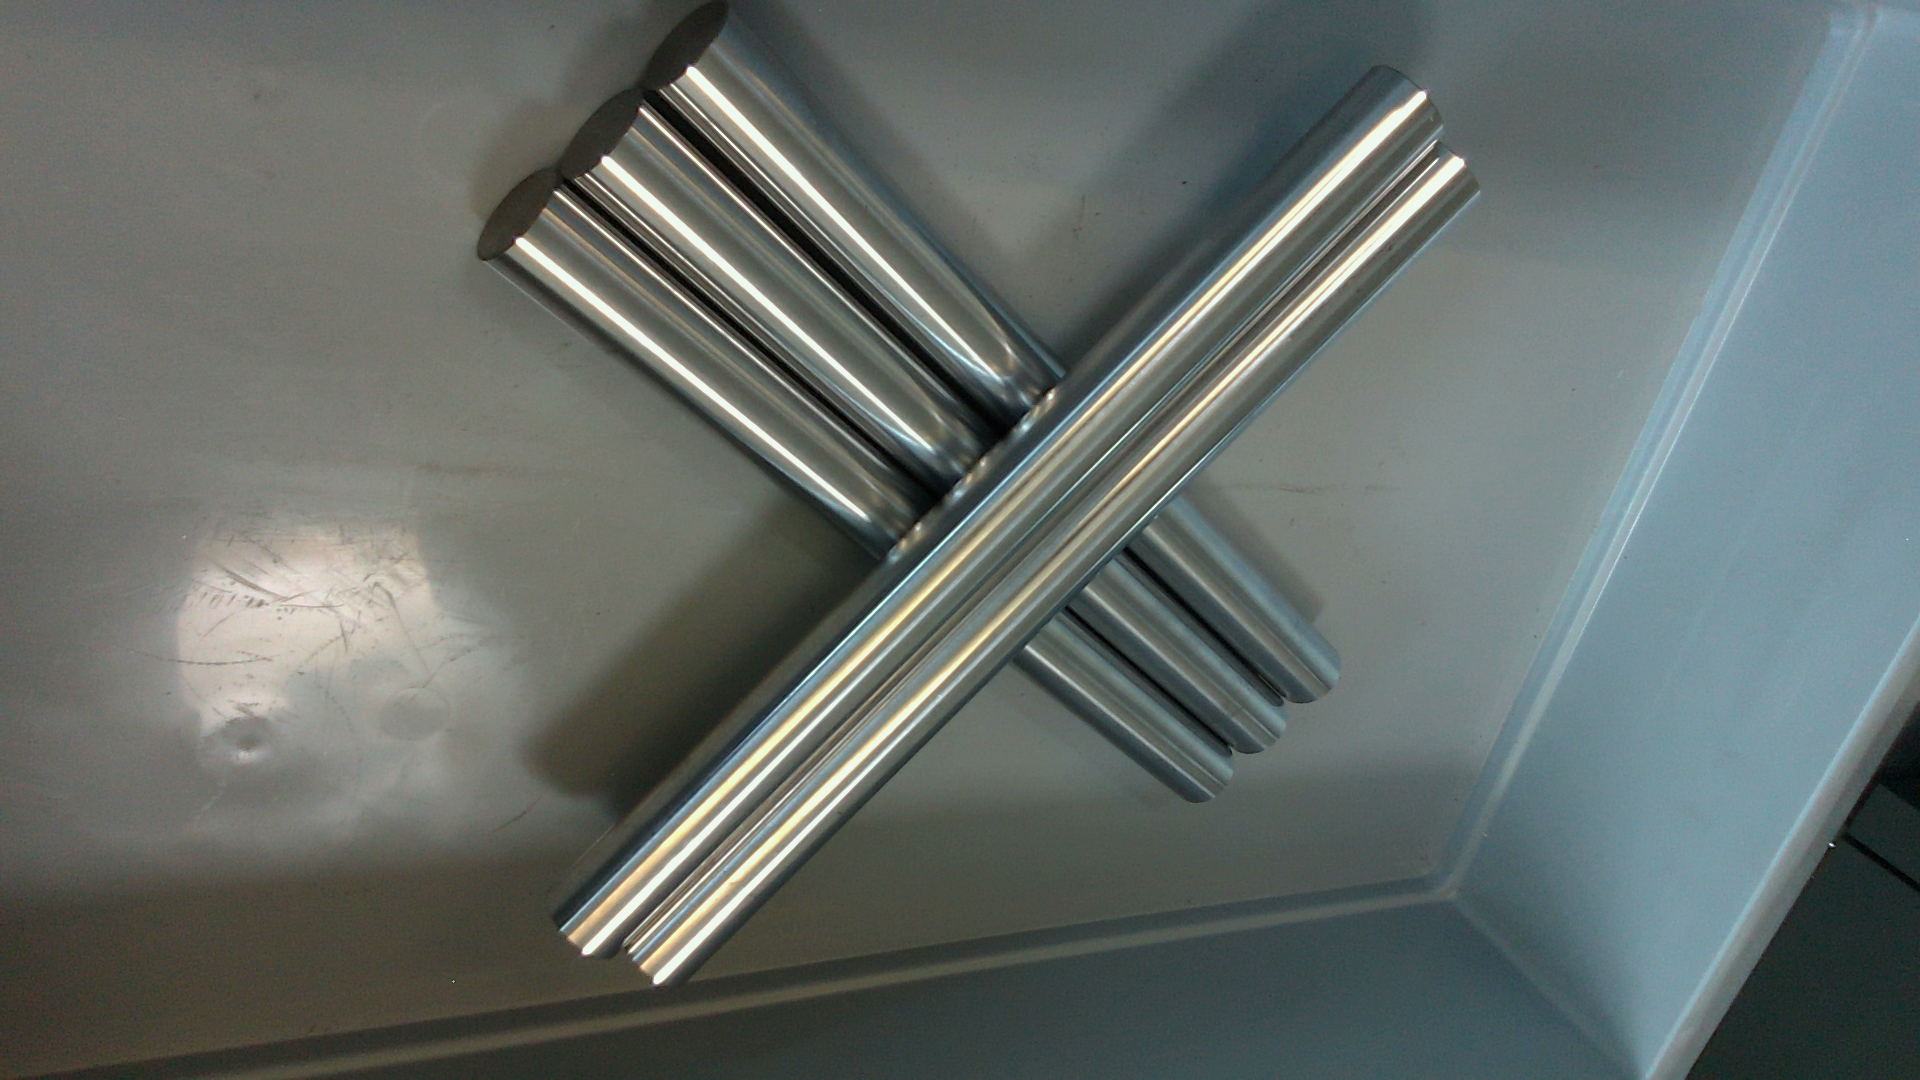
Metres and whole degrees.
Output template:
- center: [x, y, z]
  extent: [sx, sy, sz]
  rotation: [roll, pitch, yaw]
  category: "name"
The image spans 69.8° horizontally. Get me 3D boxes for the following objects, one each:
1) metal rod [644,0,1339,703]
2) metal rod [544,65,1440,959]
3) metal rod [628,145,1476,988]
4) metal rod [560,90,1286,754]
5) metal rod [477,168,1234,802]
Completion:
- center: [0.031, -0.030, 0.386]
  extent: [0.025, 0.025, 0.301]
  rotation: [-46, 129, 4]
  category: "metal rod"
- center: [0.006, -0.005, 0.356]
  extent: [0.300, 0.025, 0.025]
  rotation: [-45, 129, 3]
  category: "metal rod"
- center: [0.021, 0.008, 0.372]
  extent: [0.300, 0.025, 0.025]
  rotation: [-45, 129, 3]
  category: "metal rod"
- center: [0.013, -0.011, 0.388]
  extent: [0.025, 0.025, 0.301]
  rotation: [-47, 129, 4]
  category: "metal rod"
- center: [-0.005, 0.005, 0.388]
  extent: [0.025, 0.025, 0.301]
  rotation: [-47, 129, 4]
  category: "metal rod"
